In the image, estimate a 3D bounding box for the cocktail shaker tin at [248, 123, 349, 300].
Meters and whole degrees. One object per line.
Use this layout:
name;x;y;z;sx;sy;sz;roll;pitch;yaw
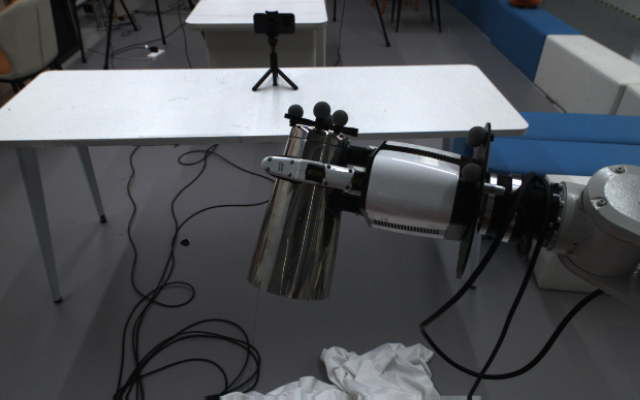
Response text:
cocktail shaker tin;-0.015;0.009;0.526;0.093;0.170;0.093;12;3;-1
